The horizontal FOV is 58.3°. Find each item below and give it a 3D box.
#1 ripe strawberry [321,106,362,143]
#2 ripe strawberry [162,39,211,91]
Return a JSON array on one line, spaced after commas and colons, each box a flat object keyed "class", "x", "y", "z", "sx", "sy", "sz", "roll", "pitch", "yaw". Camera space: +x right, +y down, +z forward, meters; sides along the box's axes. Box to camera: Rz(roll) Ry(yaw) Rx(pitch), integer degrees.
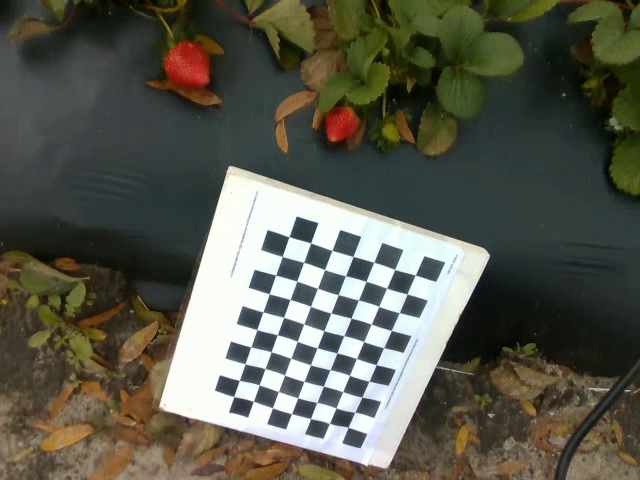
[{"class": "ripe strawberry", "x": 0.021, "y": -0.110, "z": 0.571, "sx": 0.040, "sy": 0.042, "sz": 0.037, "roll": 27, "pitch": -30, "yaw": -12}, {"class": "ripe strawberry", "x": -0.123, "y": -0.160, "z": 0.548, "sx": 0.042, "sy": 0.047, "sz": 0.065, "roll": 3, "pitch": 31, "yaw": -45}]
